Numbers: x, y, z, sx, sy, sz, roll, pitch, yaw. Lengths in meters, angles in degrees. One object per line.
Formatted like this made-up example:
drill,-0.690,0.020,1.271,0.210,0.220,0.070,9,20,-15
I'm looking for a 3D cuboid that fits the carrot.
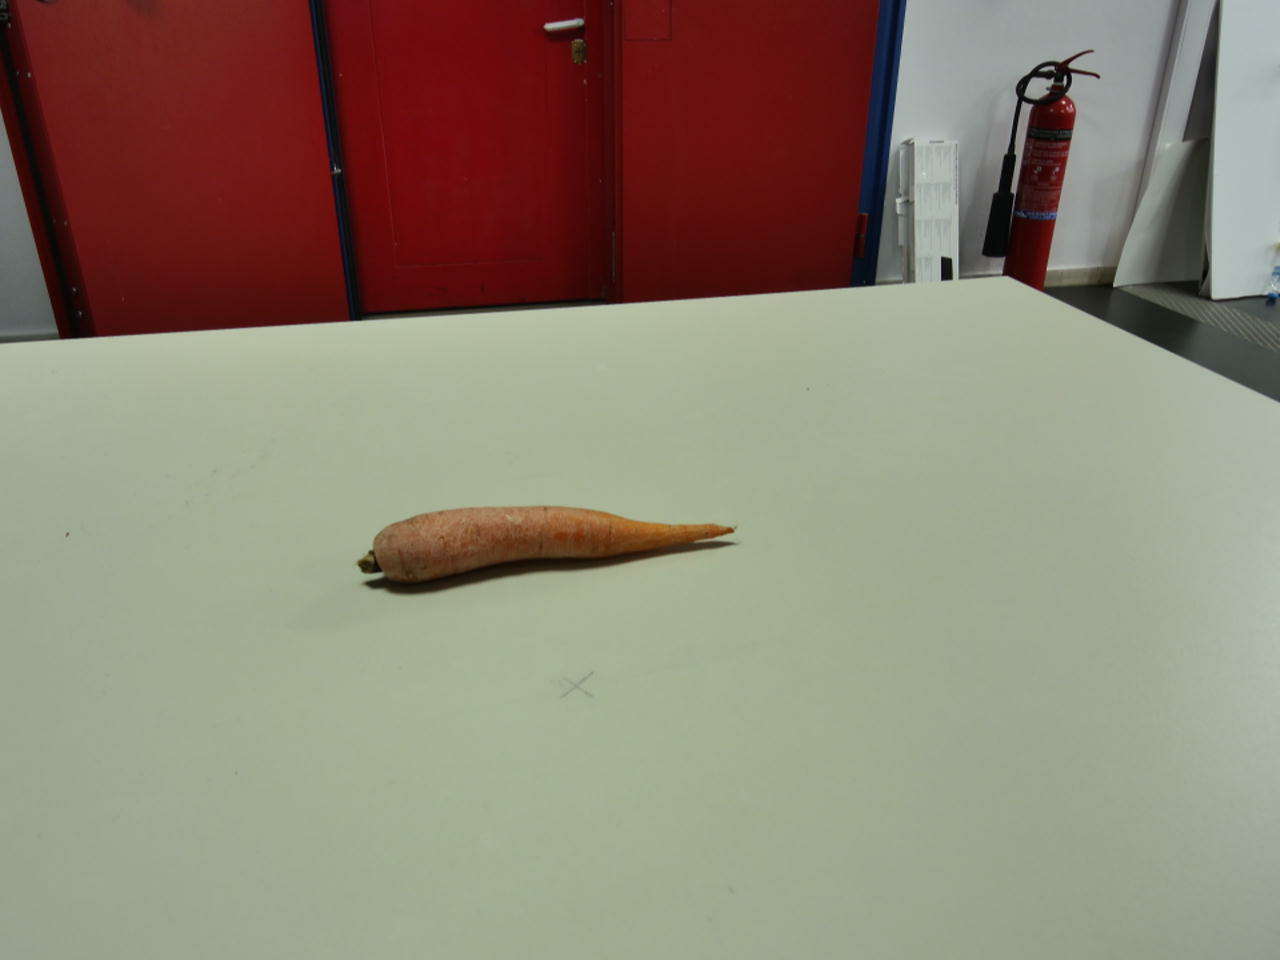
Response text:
carrot,-0.038,0.023,0.439,0.163,0.029,0.031,-5,25,-12
